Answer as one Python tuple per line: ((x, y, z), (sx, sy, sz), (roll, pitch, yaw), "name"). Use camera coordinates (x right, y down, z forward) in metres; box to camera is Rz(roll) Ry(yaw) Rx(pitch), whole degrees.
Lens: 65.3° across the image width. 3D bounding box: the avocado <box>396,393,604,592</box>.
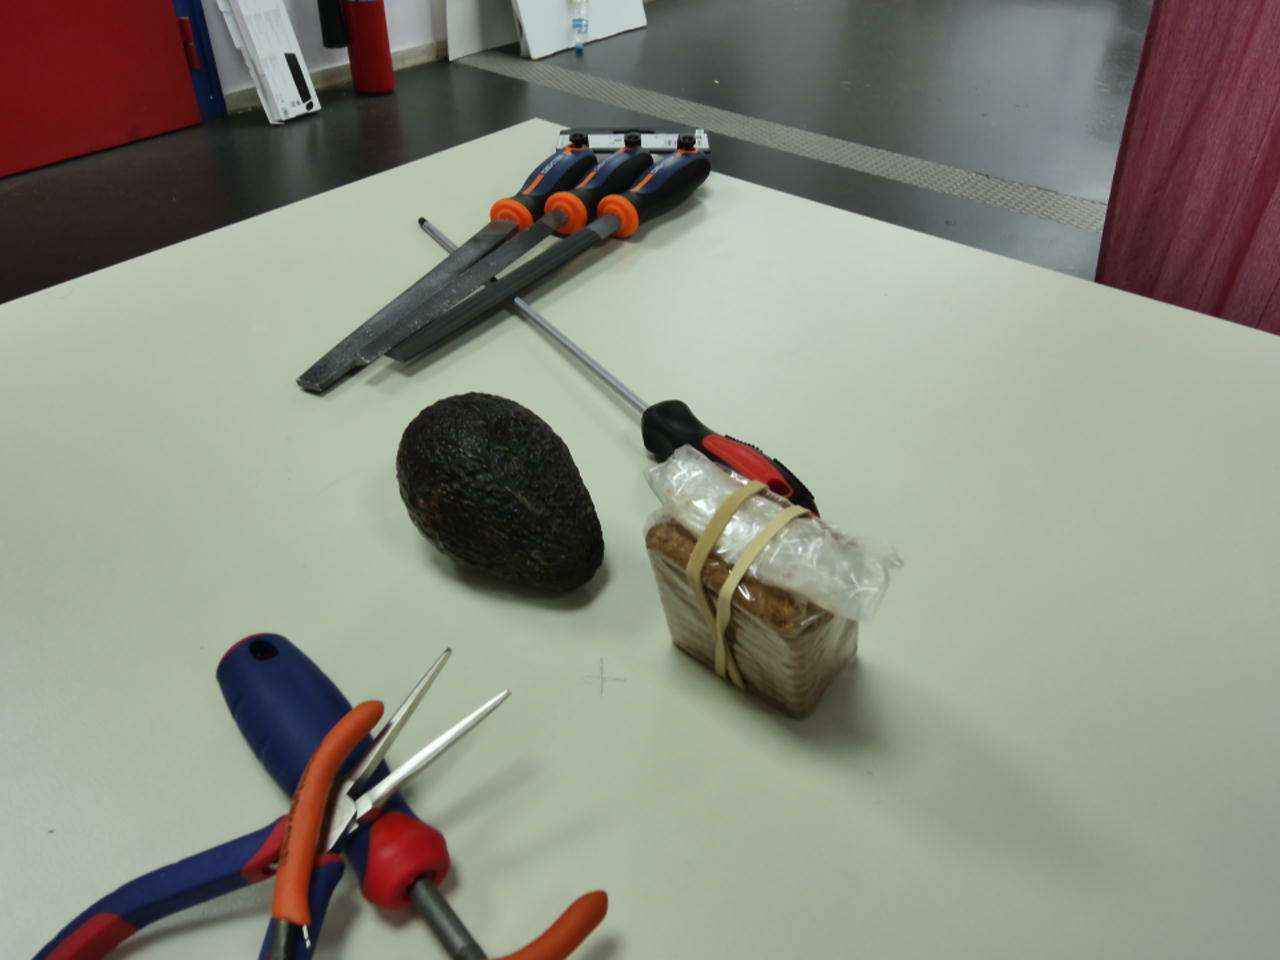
((-0.059, 0.004, 0.403), (0.070, 0.069, 0.090), (-16, 39, -22), "avocado")
